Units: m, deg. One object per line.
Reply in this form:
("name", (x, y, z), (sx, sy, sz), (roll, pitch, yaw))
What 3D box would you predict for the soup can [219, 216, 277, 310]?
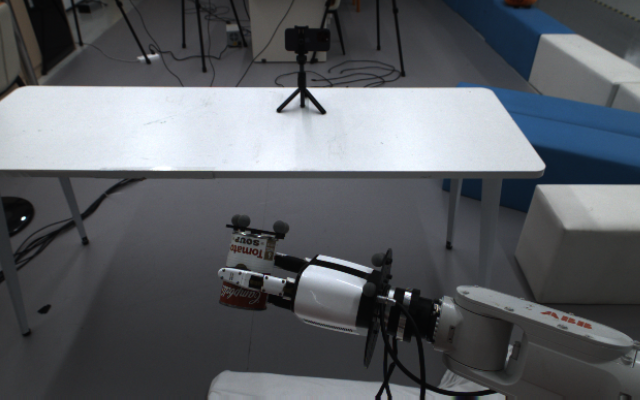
("soup can", (-0.098, 0.099, 0.679), (0.067, 0.101, 0.067), (9, -5, 1))
